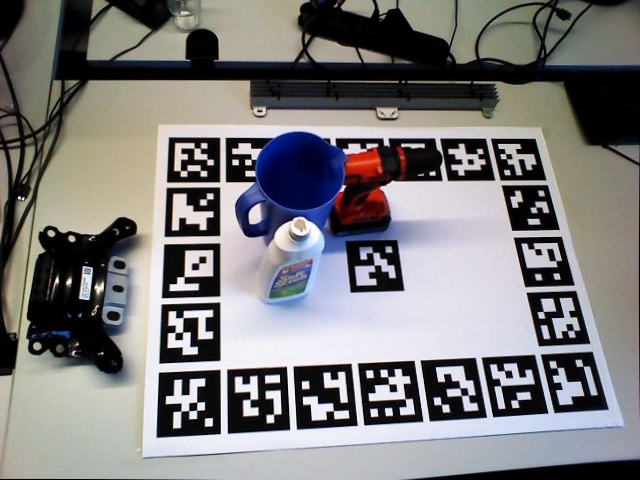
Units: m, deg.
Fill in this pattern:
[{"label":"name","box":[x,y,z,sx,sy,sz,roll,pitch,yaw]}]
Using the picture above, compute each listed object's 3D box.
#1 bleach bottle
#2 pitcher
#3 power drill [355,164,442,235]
[{"label":"bleach bottle","box":[-0.018,0.037,0.783,0.102,0.252,0.067,-9,70,-10]},{"label":"pitcher","box":[-0.017,-0.050,0.839,0.188,0.243,0.133,-28,76,-16]},{"label":"power drill","box":[0.147,-0.069,0.877,0.184,0.188,0.057,-5,72,-15]}]
